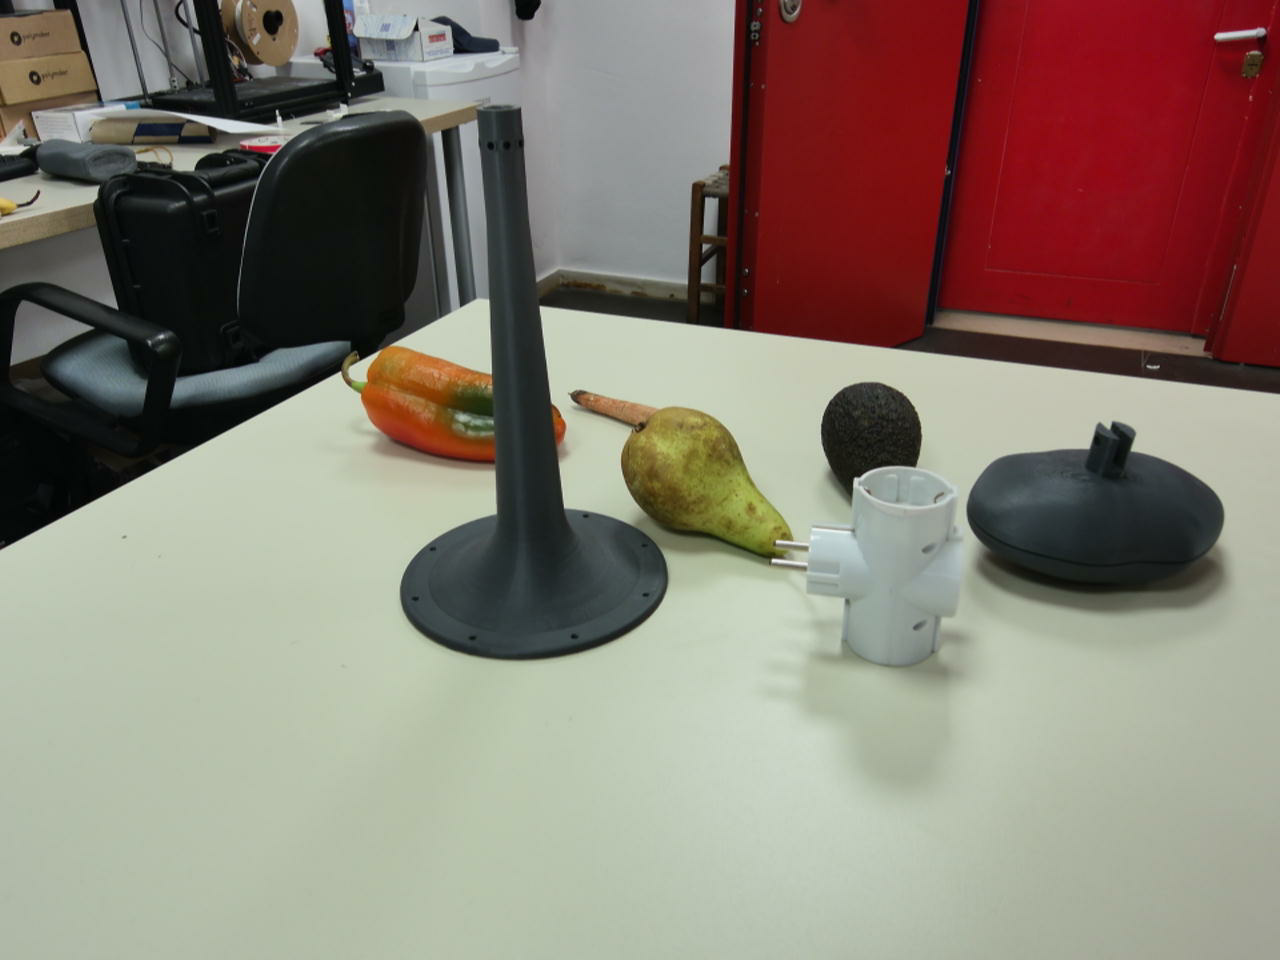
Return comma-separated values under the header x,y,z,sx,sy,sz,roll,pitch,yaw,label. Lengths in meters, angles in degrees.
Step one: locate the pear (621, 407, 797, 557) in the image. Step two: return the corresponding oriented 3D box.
x,y,z,sx,sy,sz,roll,pitch,yaw,label
0.055,0.001,0.599,0.144,0.075,0.071,15,30,28,pear
